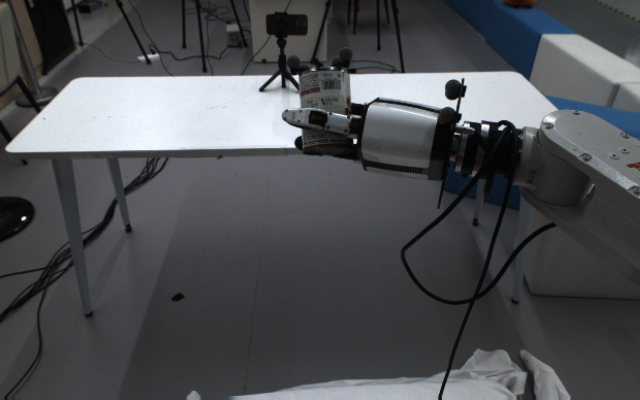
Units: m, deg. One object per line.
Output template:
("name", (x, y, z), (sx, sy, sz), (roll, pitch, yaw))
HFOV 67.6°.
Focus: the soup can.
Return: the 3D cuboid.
("soup can", (0.009, -0.112, 0.621), (0.067, 0.101, 0.067), (-3, -1, 0))
